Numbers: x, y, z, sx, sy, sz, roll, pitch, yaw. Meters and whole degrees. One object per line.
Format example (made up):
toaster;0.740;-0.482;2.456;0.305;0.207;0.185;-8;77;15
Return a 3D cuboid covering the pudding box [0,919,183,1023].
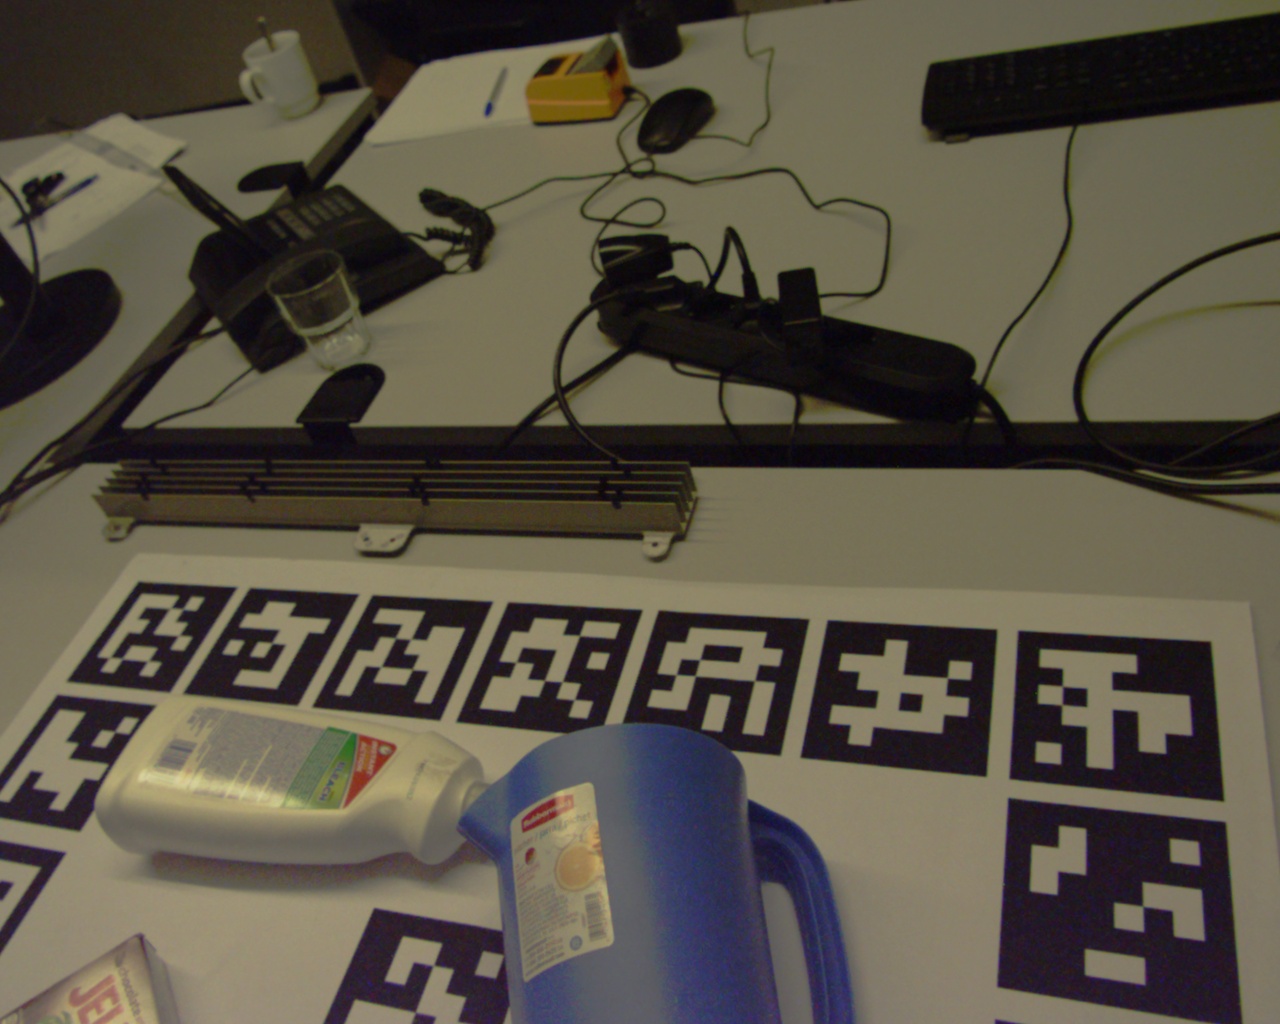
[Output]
pudding box;-0.302;0.299;0.633;0.089;0.038;0.115;-26;44;-15

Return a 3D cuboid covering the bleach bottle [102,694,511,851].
bleach bottle;-0.204;0.170;0.718;0.253;0.067;0.102;0;50;18

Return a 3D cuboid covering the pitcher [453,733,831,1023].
pitcher;0.010;0.240;0.542;0.187;0.134;0.244;7;44;-21
